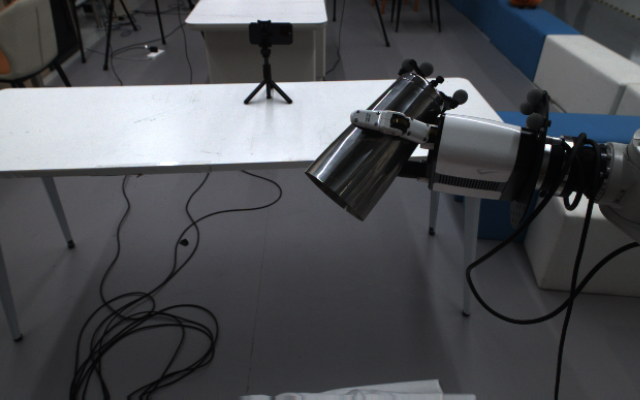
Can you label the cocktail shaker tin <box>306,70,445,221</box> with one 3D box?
[{"bbox_3d":[0.072,-0.073,0.586,0.170,0.093,0.093,-48,49,-4],"label":"cocktail shaker tin"}]
